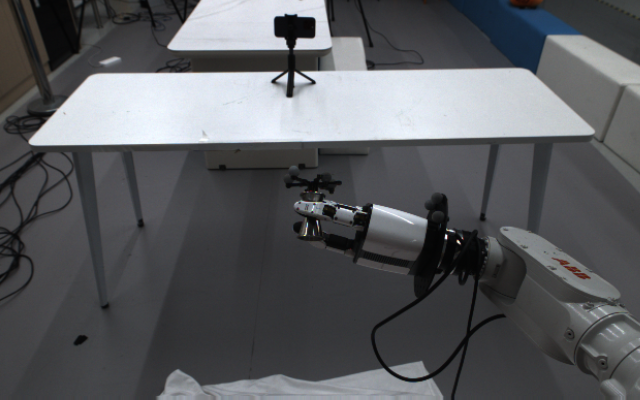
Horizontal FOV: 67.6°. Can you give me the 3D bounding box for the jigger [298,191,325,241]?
[{"bbox_3d":[-0.013,0.023,0.725,0.043,0.043,0.071,3,76,1],"label":"jigger"}]
